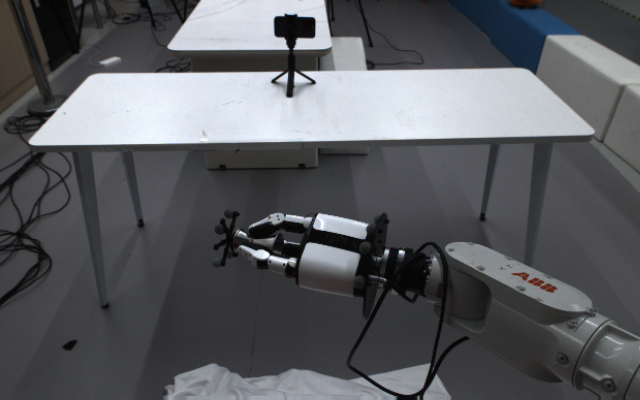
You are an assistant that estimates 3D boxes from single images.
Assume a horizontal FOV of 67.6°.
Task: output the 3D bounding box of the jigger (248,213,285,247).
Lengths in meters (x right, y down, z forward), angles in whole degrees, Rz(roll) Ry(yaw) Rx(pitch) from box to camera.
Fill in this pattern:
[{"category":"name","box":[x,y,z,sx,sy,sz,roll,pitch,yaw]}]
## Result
[{"category":"jigger","box":[-0.090,0.066,0.753,0.071,0.043,0.043,8,35,17]}]
